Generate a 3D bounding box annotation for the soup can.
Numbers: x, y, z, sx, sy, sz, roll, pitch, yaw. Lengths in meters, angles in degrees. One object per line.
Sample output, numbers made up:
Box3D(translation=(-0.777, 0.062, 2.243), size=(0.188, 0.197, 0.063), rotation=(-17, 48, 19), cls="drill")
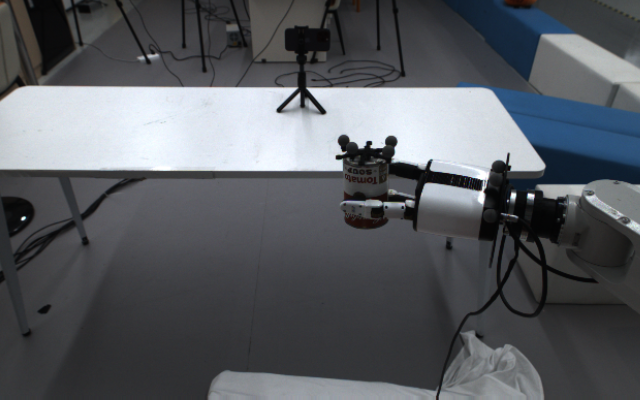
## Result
Box3D(translation=(0.069, -0.019, 0.711), size=(0.067, 0.101, 0.067), rotation=(-3, 27, 2), cls="soup can")
